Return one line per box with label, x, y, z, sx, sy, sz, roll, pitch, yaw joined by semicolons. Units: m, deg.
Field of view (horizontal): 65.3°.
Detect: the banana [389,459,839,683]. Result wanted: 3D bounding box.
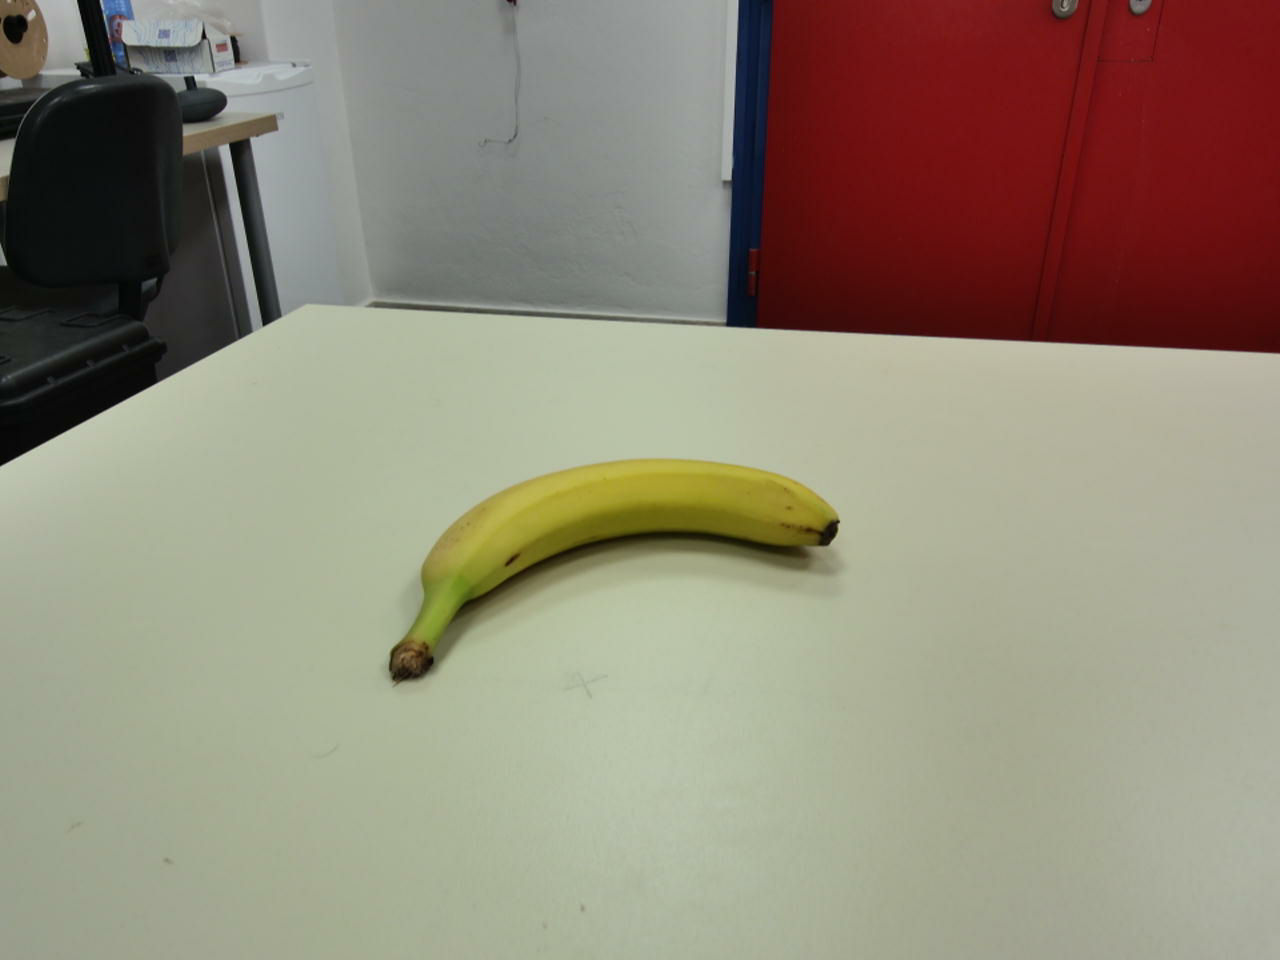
banana;-0.018;0.023;0.432;0.196;0.041;0.094;-10;26;-21
